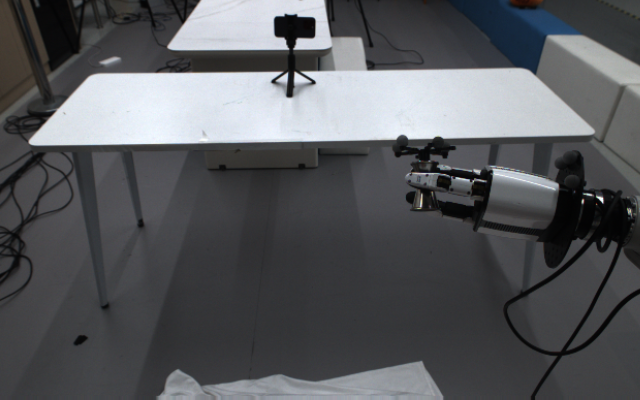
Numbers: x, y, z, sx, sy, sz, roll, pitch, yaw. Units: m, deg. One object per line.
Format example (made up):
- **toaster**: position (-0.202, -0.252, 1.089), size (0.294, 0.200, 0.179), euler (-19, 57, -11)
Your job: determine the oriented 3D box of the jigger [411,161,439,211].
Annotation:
- **jigger**: position (0.147, -0.021, 0.686), size (0.043, 0.071, 0.043), euler (1, -5, 0)
